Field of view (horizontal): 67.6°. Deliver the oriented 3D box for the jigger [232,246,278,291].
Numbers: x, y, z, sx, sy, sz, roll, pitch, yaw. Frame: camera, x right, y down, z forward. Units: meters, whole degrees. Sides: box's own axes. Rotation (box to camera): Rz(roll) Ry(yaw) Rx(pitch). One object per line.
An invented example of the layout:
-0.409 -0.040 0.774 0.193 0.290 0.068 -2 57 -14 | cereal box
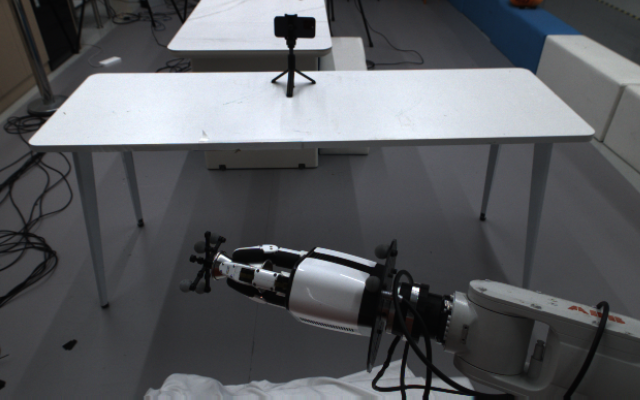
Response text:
-0.095 0.088 0.626 0.071 0.043 0.043 10 35 16 | jigger
